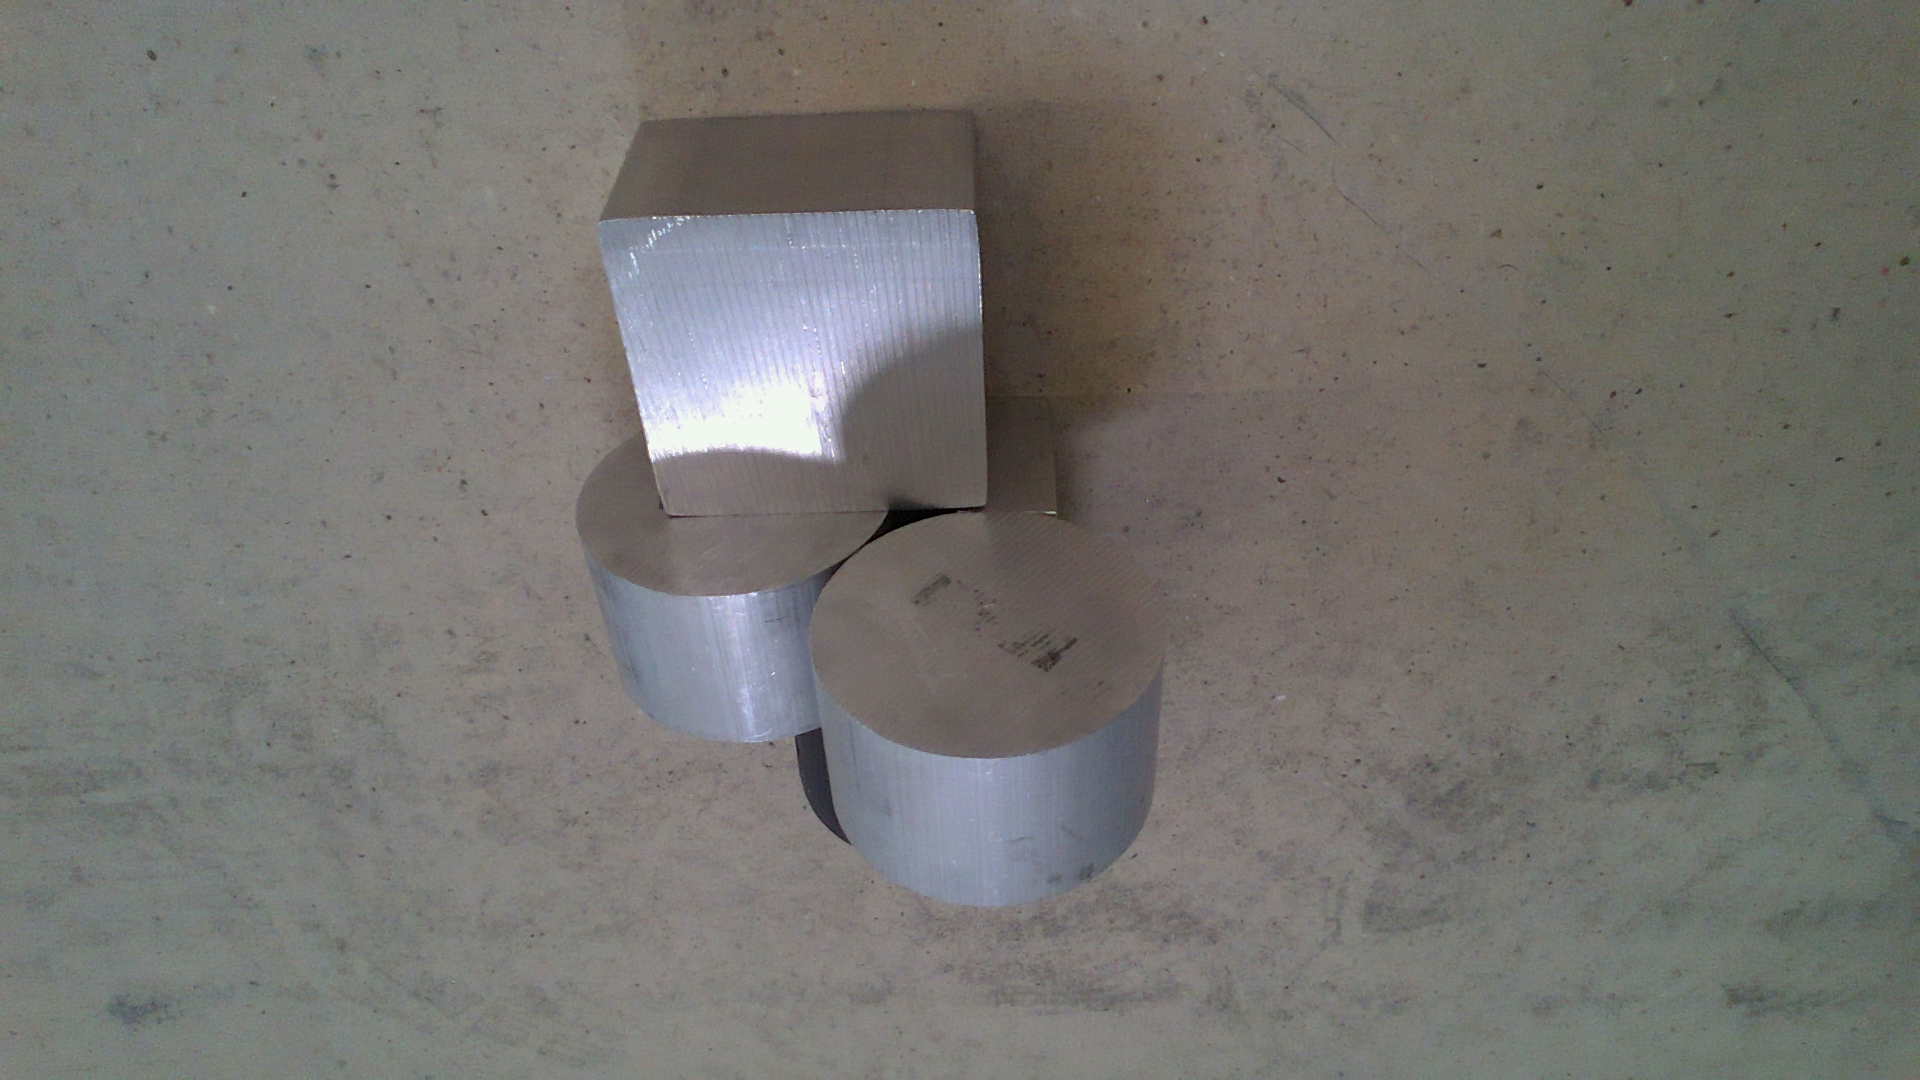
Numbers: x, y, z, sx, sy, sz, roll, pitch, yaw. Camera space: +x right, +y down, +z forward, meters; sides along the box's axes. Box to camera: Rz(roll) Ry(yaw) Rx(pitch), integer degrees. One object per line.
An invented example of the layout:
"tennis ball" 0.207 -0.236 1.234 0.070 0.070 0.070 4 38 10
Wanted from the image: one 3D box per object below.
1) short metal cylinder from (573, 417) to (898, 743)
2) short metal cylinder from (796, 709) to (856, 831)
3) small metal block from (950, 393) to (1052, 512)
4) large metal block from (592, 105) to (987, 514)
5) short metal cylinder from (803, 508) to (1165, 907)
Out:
"short metal cylinder" -0.055 0.006 0.361 0.080 0.080 0.050 -2 130 1
"short metal cylinder" -0.009 0.044 0.393 0.080 0.080 0.050 0 130 0
"small metal block" 0.010 -0.005 0.373 0.025 0.050 0.050 1 130 0
"large metal block" -0.035 -0.054 0.329 0.080 0.050 0.080 -2 130 1
"short metal cylinder" 0.006 0.037 0.321 0.080 0.080 0.050 -2 130 1
